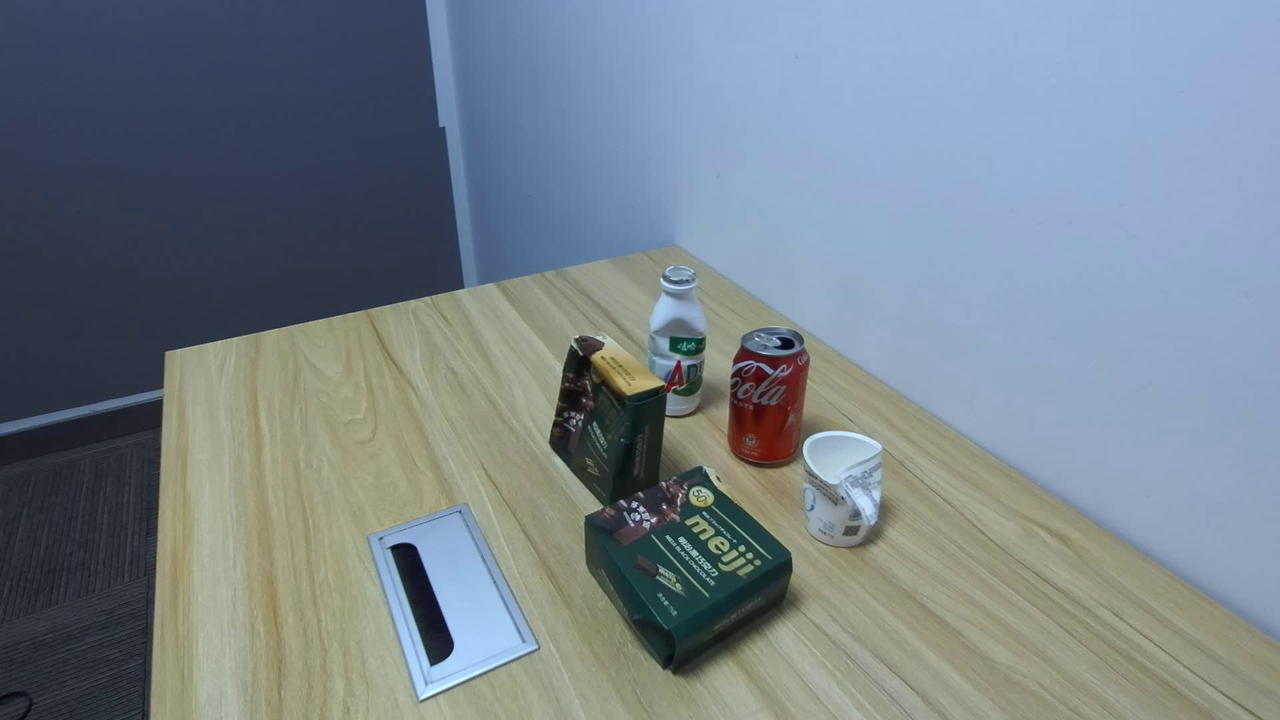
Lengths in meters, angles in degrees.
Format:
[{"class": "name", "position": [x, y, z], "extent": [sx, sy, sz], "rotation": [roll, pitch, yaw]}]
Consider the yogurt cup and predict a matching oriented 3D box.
[{"class": "yogurt cup", "position": [0.157, 0.103, 0.558], "extent": [0.067, 0.070, 0.067], "rotation": [-1, 32, 1]}]

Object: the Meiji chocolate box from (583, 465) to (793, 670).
[{"class": "Meiji chocolate box", "position": [0.034, 0.145, 0.506], "extent": [0.123, 0.058, 0.115], "rotation": [-20, 40, -27]}]

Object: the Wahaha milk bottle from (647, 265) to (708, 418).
[{"class": "Wahaha milk bottle", "position": [0.036, -0.017, 0.673], "extent": [0.056, 0.148, 0.056], "rotation": [1, 35, -1]}]

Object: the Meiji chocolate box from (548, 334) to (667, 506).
[{"class": "Meiji chocolate box", "position": [-0.026, 0.049, 0.603], "extent": [0.052, 0.117, 0.116], "rotation": [-11, 33, -33]}]

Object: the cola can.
[{"class": "cola can", "position": [0.114, 0.033, 0.628], "extent": [0.072, 0.117, 0.065], "rotation": [-21, 37, -32]}]
